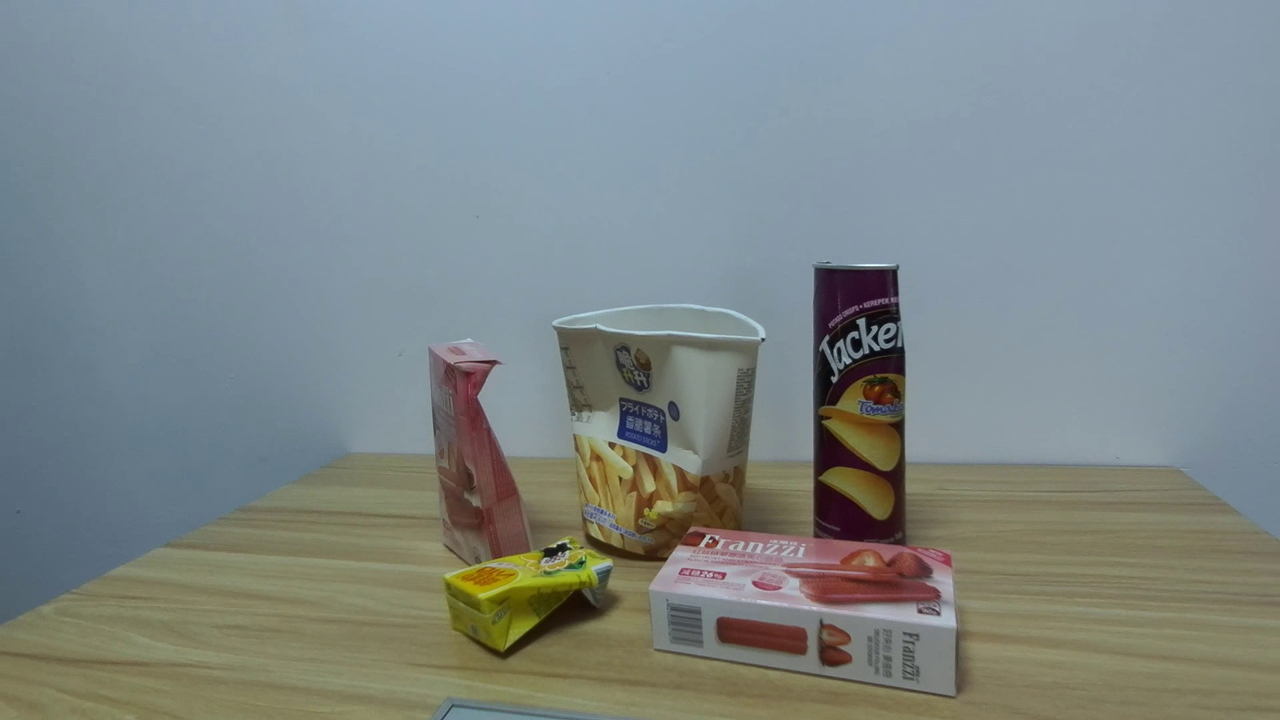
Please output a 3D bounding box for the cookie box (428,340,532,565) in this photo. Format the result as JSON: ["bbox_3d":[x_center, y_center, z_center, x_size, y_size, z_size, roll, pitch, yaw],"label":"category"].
[{"bbox_3d":[-0.138,0.081,0.601,0.056,0.184,0.118,-11,12,-30],"label":"cookie box"}]

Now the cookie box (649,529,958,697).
[{"bbox_3d":[0.107,0.158,0.465,0.184,0.048,0.096,0,12,21],"label":"cookie box"}]

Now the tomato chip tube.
[{"bbox_3d":[0.177,0.039,0.572,0.076,0.235,0.078,1,10,25],"label":"tomato chip tube"}]

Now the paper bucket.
[{"bbox_3d":[0.016,0.056,0.626,0.217,0.199,0.148,0,12,20],"label":"paper bucket"}]

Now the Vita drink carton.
[{"bbox_3d":[-0.077,0.166,0.509,0.109,0.042,0.086,-8,4,-38],"label":"Vita drink carton"}]
